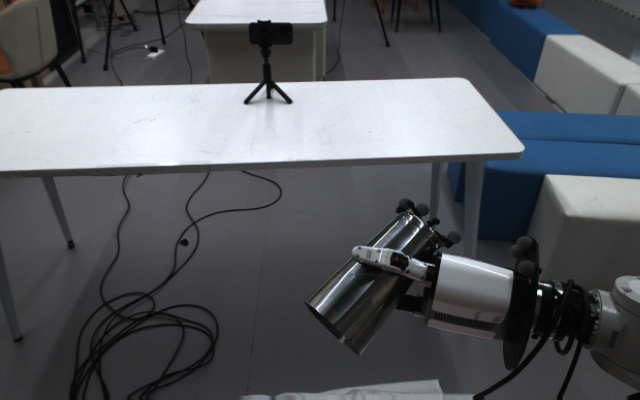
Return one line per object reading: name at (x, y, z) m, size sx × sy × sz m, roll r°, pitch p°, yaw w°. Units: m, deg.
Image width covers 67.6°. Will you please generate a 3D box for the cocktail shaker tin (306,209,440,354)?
cocktail shaker tin at (0.071, 0.092, 0.606) m, size 0.170 × 0.093 × 0.093 m, roll -43°, pitch 50°, yaw -14°
